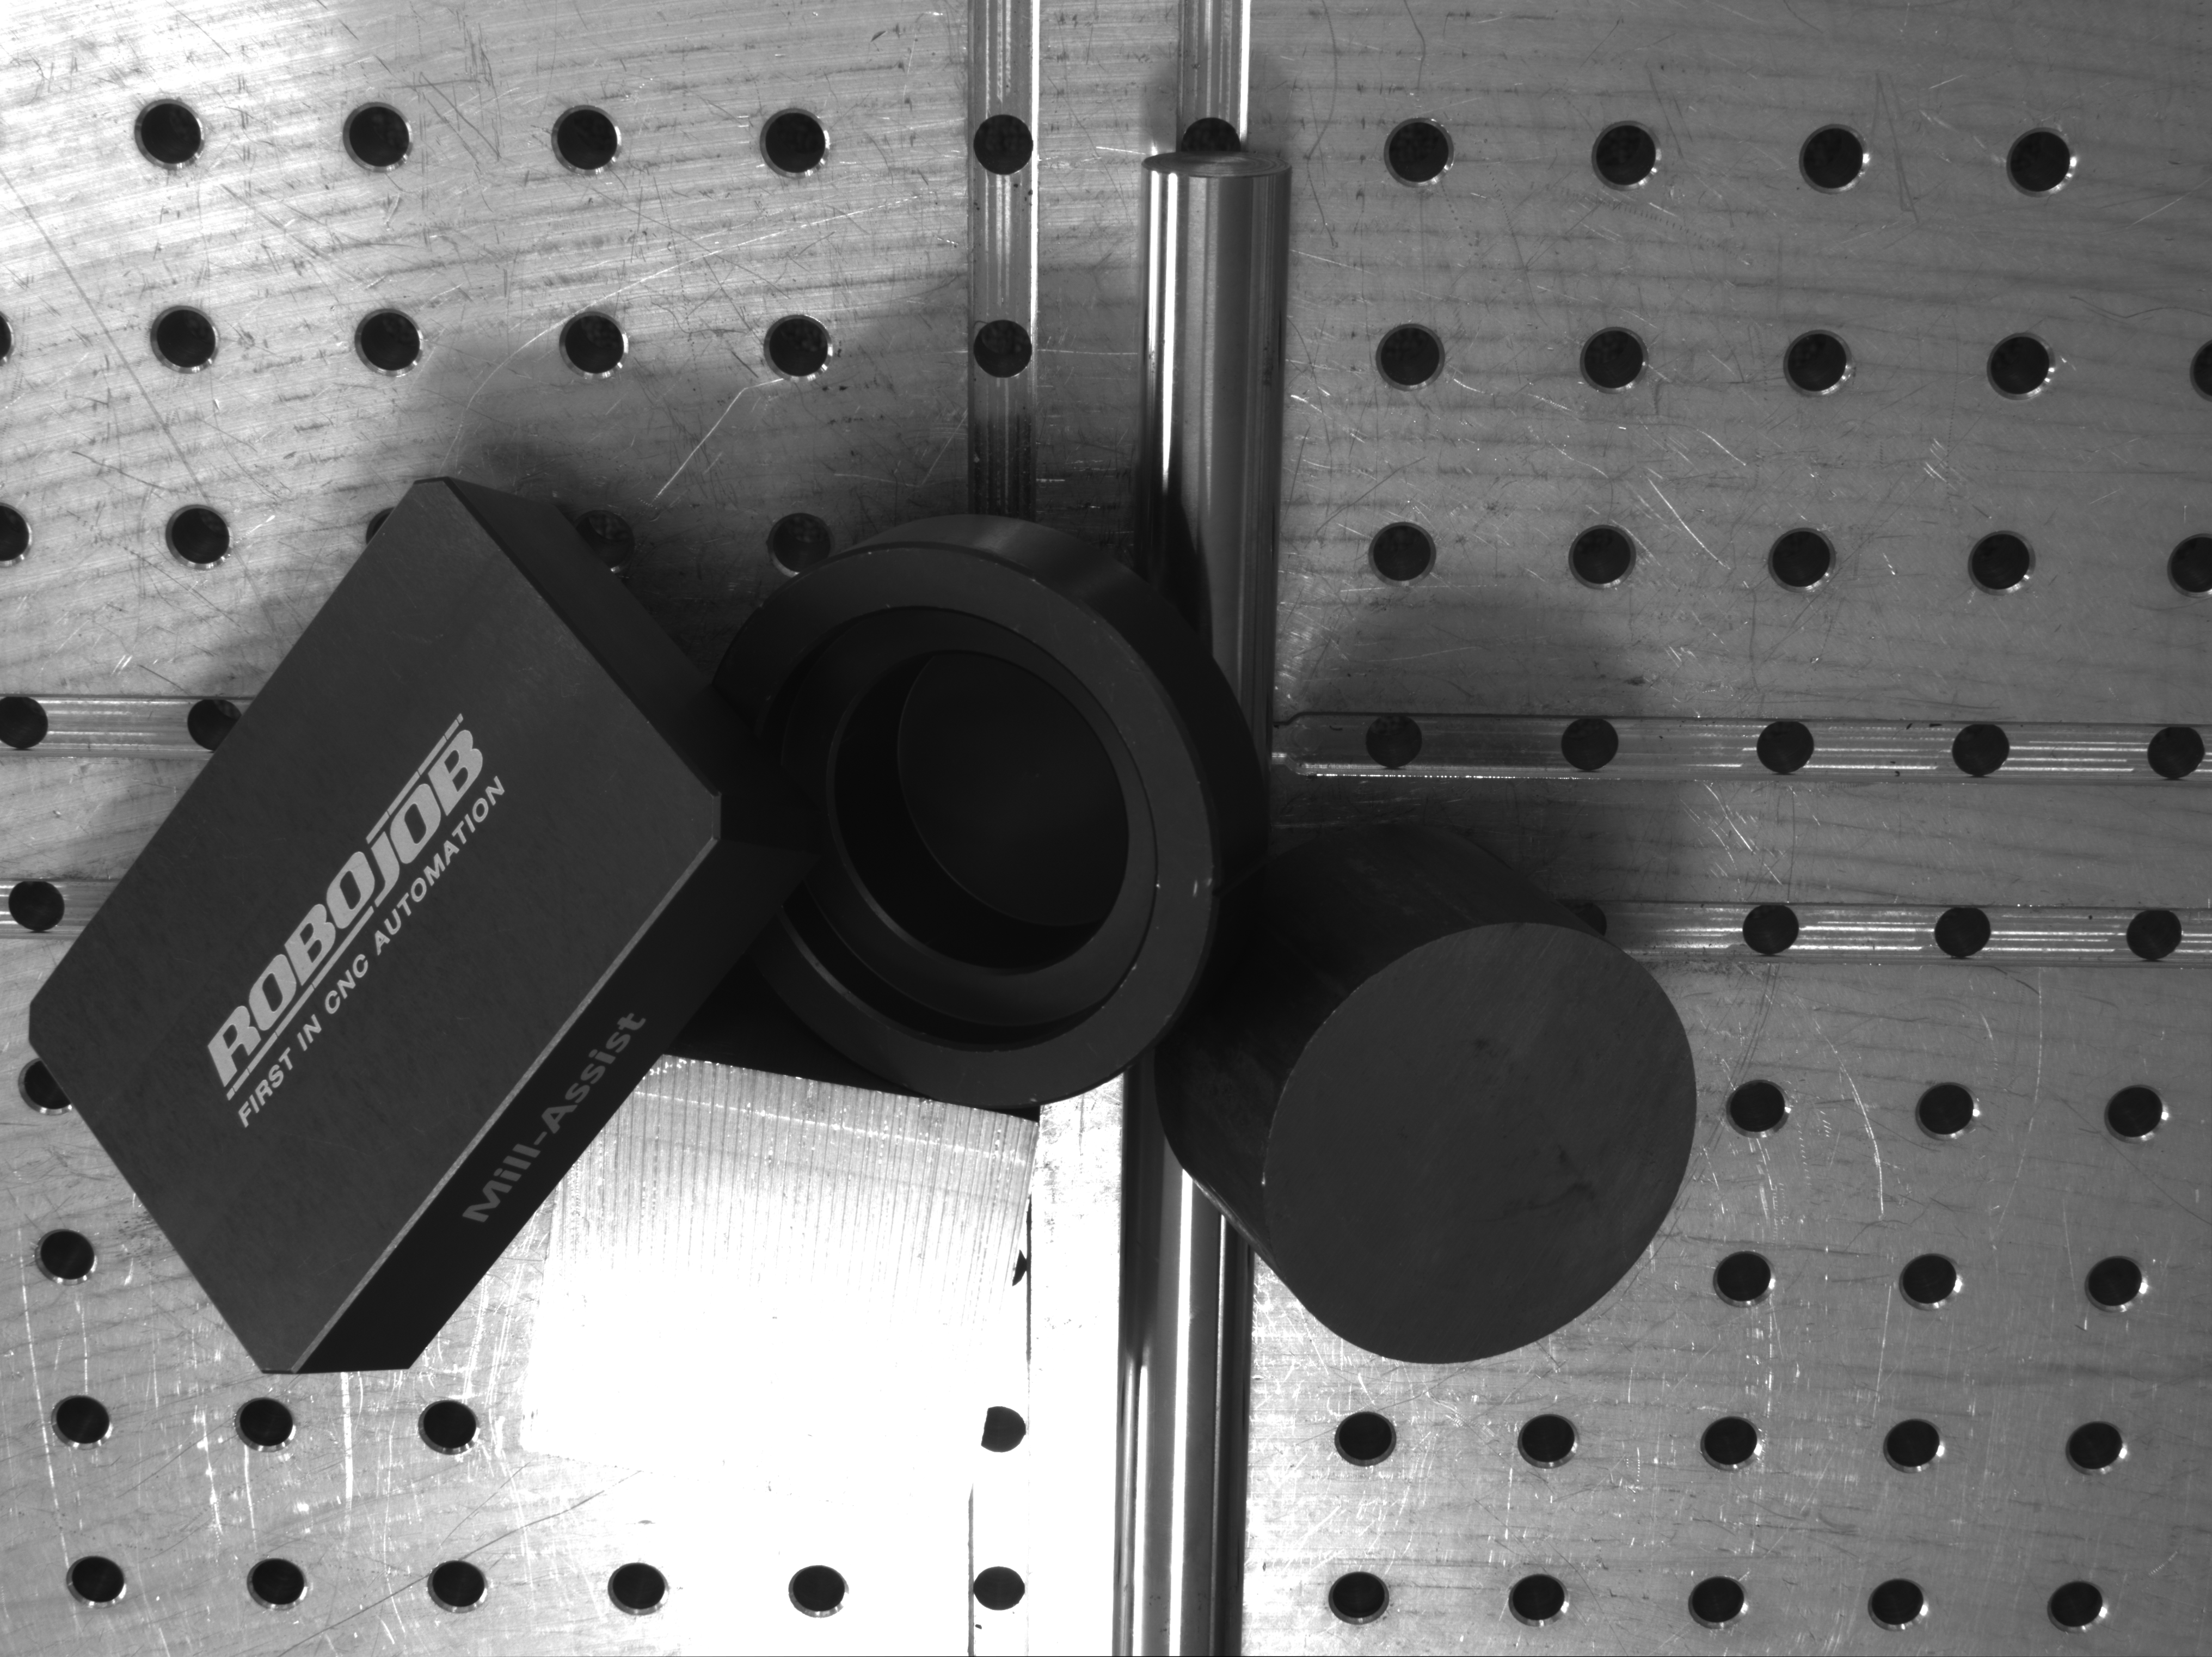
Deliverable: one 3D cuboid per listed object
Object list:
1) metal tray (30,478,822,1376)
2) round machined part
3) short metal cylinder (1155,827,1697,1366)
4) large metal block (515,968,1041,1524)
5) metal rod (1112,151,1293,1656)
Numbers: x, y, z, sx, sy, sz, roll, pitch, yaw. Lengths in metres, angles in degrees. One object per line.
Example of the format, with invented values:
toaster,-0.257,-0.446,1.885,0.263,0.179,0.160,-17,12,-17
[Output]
metal tray,-0.118,0.018,0.624,0.130,0.030,0.090,-50,64,16
round machined part,-0.017,-0.005,0.622,0.098,0.042,0.098,9,111,24
short metal cylinder,0.055,0.046,0.636,0.080,0.050,0.080,-7,111,-19
large metal block,-0.057,0.071,0.659,0.080,0.050,0.080,10,110,-3
metal rod,0.016,0.031,0.659,0.025,0.025,0.300,1,110,0
